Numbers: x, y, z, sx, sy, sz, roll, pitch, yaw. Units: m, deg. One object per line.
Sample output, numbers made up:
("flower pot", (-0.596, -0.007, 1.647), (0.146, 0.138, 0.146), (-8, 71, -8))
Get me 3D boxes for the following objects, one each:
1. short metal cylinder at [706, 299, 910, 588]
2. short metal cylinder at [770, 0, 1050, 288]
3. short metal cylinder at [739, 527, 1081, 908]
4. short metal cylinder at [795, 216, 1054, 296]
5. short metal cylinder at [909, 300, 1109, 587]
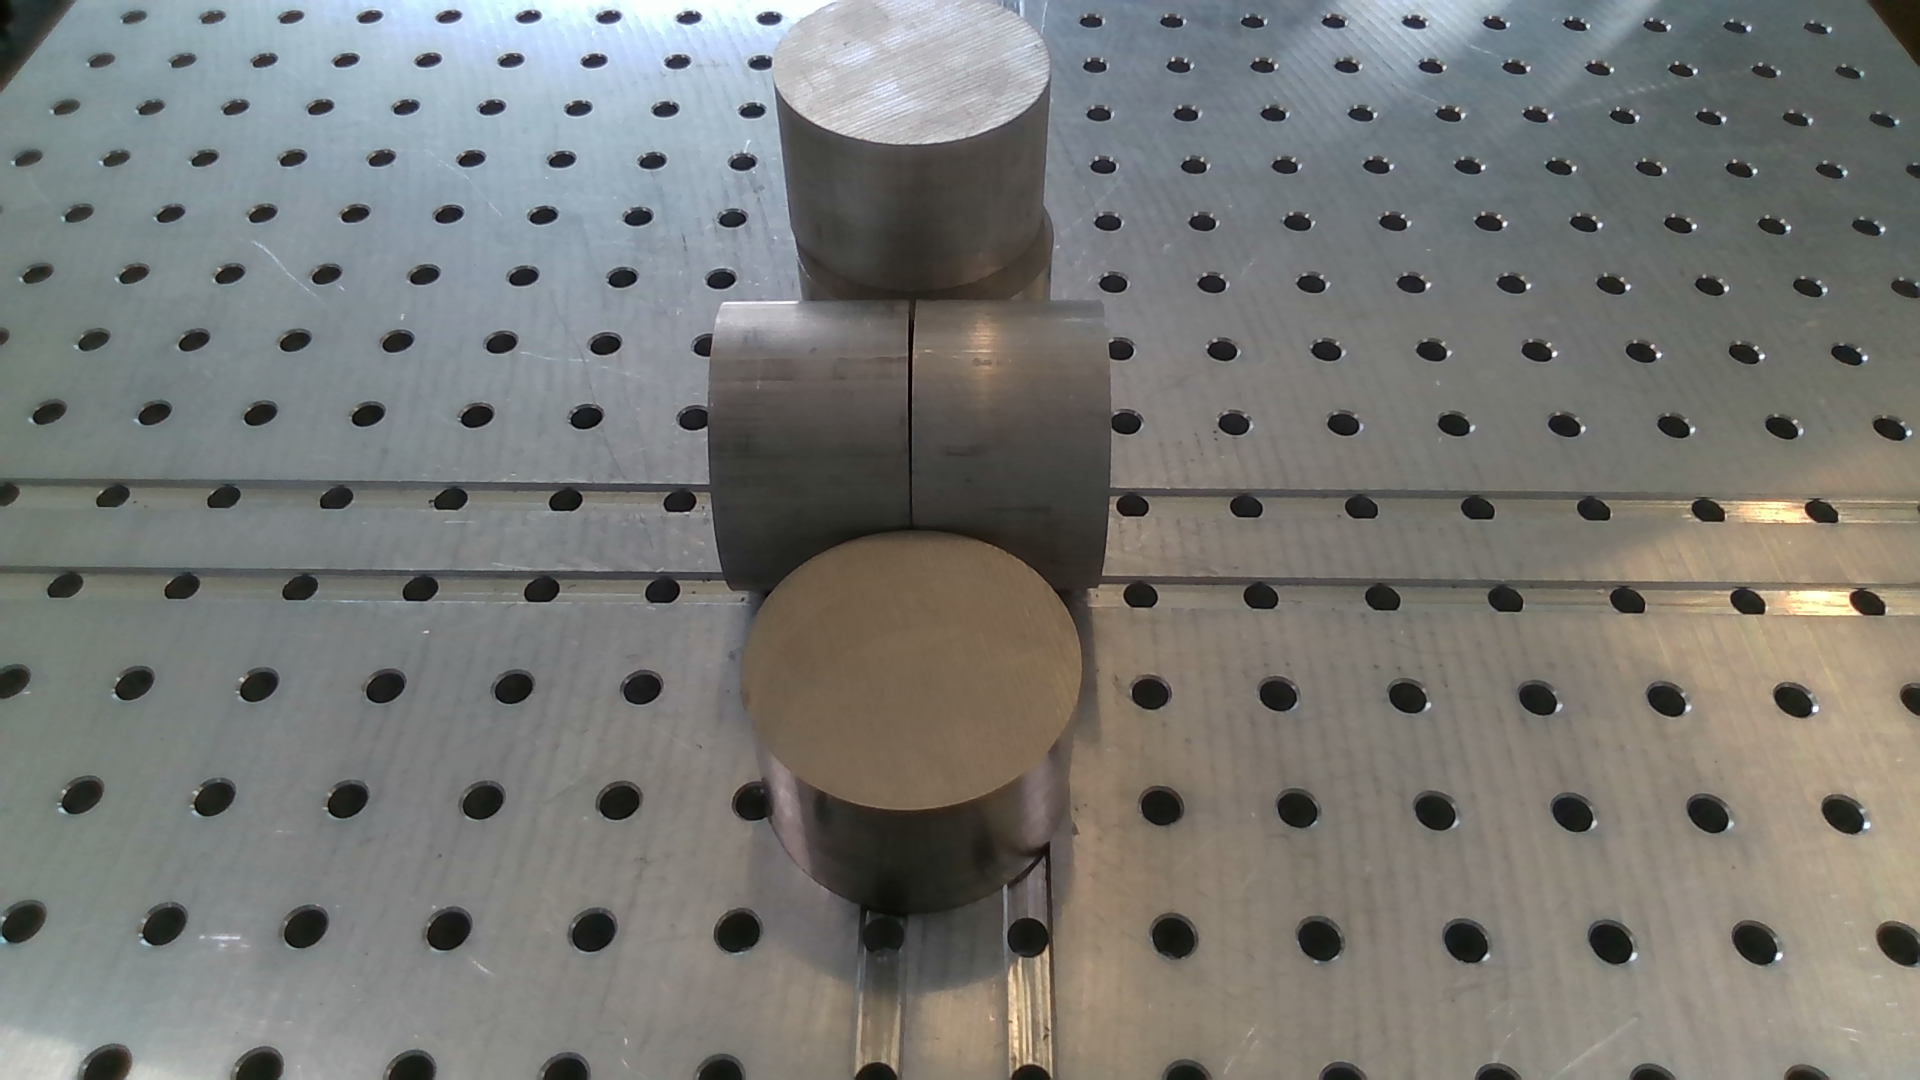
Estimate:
("short metal cylinder", (-0.039, -0.026, 0.382), (0.050, 0.080, 0.080), (-1, 50, -1))
("short metal cylinder", (-0.014, -0.121, 0.414), (0.080, 0.050, 0.080), (0, 50, 0))
("short metal cylinder", (-0.012, 0.043, 0.343), (0.080, 0.050, 0.080), (0, 50, 0))
("short metal cylinder", (-0.011, -0.079, 0.446), (0.080, 0.050, 0.080), (0, 50, 0))
("short metal cylinder", (0.013, -0.027, 0.383), (0.050, 0.080, 0.080), (0, 50, 1))
